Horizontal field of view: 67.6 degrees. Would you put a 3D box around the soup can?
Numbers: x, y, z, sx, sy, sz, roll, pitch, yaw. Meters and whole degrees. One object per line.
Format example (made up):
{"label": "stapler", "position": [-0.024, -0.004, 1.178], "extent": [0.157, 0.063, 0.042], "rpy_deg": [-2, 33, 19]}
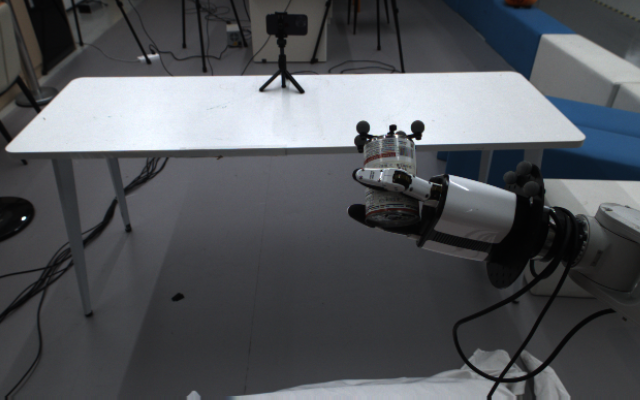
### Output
{"label": "soup can", "position": [0.090, -0.023, 0.607], "extent": [0.067, 0.067, 0.101], "rpy_deg": [1, 73, -2]}
